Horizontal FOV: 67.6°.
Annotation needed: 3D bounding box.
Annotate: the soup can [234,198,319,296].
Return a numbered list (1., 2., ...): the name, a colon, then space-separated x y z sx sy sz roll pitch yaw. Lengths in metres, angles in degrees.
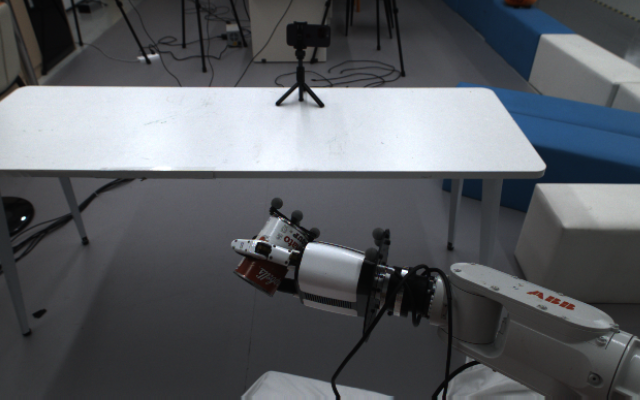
1. soup can: -0.071 0.081 0.705 0.067 0.067 0.101 24 73 29
